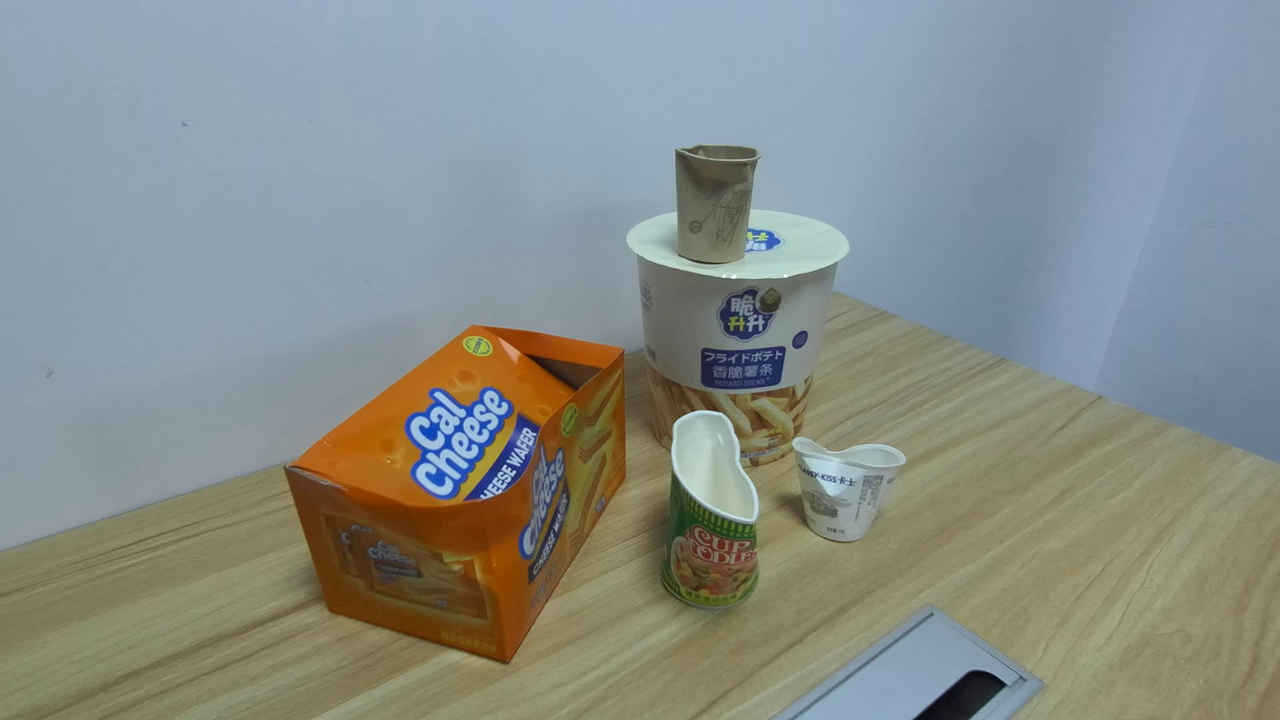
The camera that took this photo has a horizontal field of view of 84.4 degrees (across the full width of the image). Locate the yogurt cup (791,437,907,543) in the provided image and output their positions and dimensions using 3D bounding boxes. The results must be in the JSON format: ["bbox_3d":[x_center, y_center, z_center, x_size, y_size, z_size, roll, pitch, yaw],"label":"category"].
[{"bbox_3d":[0.158,0.098,0.553,0.075,0.071,0.053,-5,29,-11],"label":"yogurt cup"}]

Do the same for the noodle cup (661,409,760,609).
[{"bbox_3d":[0.052,0.109,0.492,0.070,0.111,0.115,7,28,16],"label":"noodle cup"}]

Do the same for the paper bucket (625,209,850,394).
[{"bbox_3d":[0.083,-0.020,0.650,0.198,0.195,0.198,0,28,0],"label":"paper bucket"}]

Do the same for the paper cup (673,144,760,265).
[{"bbox_3d":[0.062,-0.124,0.553,0.066,0.084,0.072,12,25,22],"label":"paper cup"}]

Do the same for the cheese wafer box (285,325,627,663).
[{"bbox_3d":[-0.114,0.085,0.527,0.152,0.132,0.231,11,28,16],"label":"cheese wafer box"}]
